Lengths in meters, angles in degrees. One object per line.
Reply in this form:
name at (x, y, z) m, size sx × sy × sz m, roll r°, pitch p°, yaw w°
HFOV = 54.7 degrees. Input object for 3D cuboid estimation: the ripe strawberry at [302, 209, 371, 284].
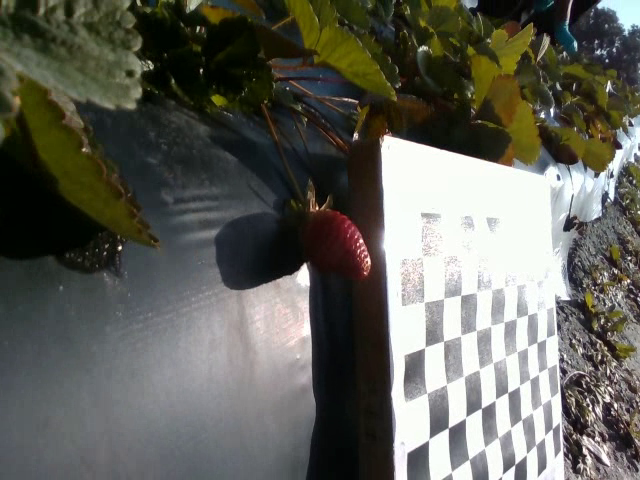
ripe strawberry at (0.008, 0.005, 0.238) m, size 0.037 × 0.033 × 0.034 m, roll 40°, pitch 24°, yaw 28°
